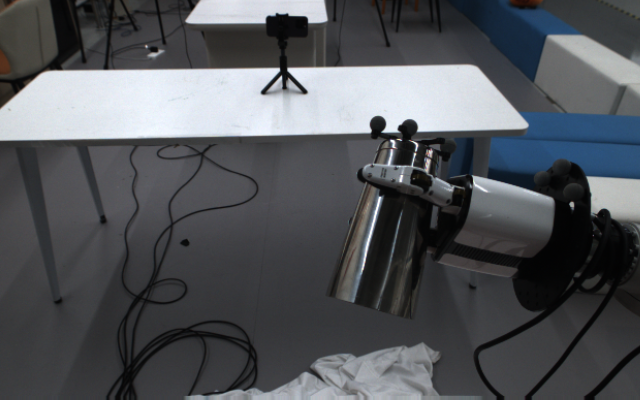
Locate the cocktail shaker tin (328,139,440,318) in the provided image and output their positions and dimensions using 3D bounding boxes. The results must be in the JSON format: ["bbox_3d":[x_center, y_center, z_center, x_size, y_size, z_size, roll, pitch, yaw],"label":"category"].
[{"bbox_3d":[0.076,0.026,0.502,0.093,0.093,0.170,13,79,15],"label":"cocktail shaker tin"}]
